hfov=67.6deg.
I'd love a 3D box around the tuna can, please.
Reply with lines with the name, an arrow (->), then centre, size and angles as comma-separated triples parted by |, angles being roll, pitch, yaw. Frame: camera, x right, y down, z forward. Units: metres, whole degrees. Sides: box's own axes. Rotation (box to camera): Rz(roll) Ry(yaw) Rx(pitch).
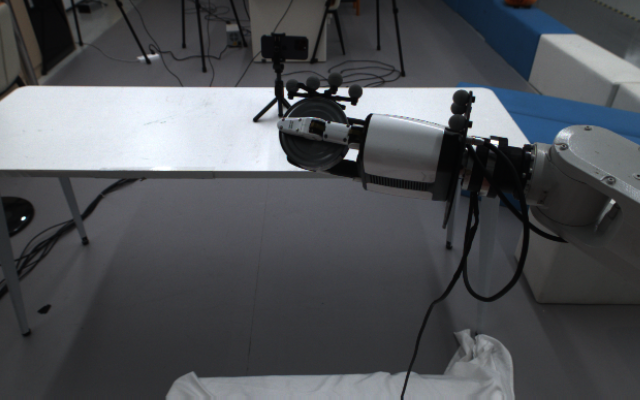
tuna can -> -0.004, -0.081, 0.590 | 0.085, 0.085, 0.034 | 11, -7, 13
